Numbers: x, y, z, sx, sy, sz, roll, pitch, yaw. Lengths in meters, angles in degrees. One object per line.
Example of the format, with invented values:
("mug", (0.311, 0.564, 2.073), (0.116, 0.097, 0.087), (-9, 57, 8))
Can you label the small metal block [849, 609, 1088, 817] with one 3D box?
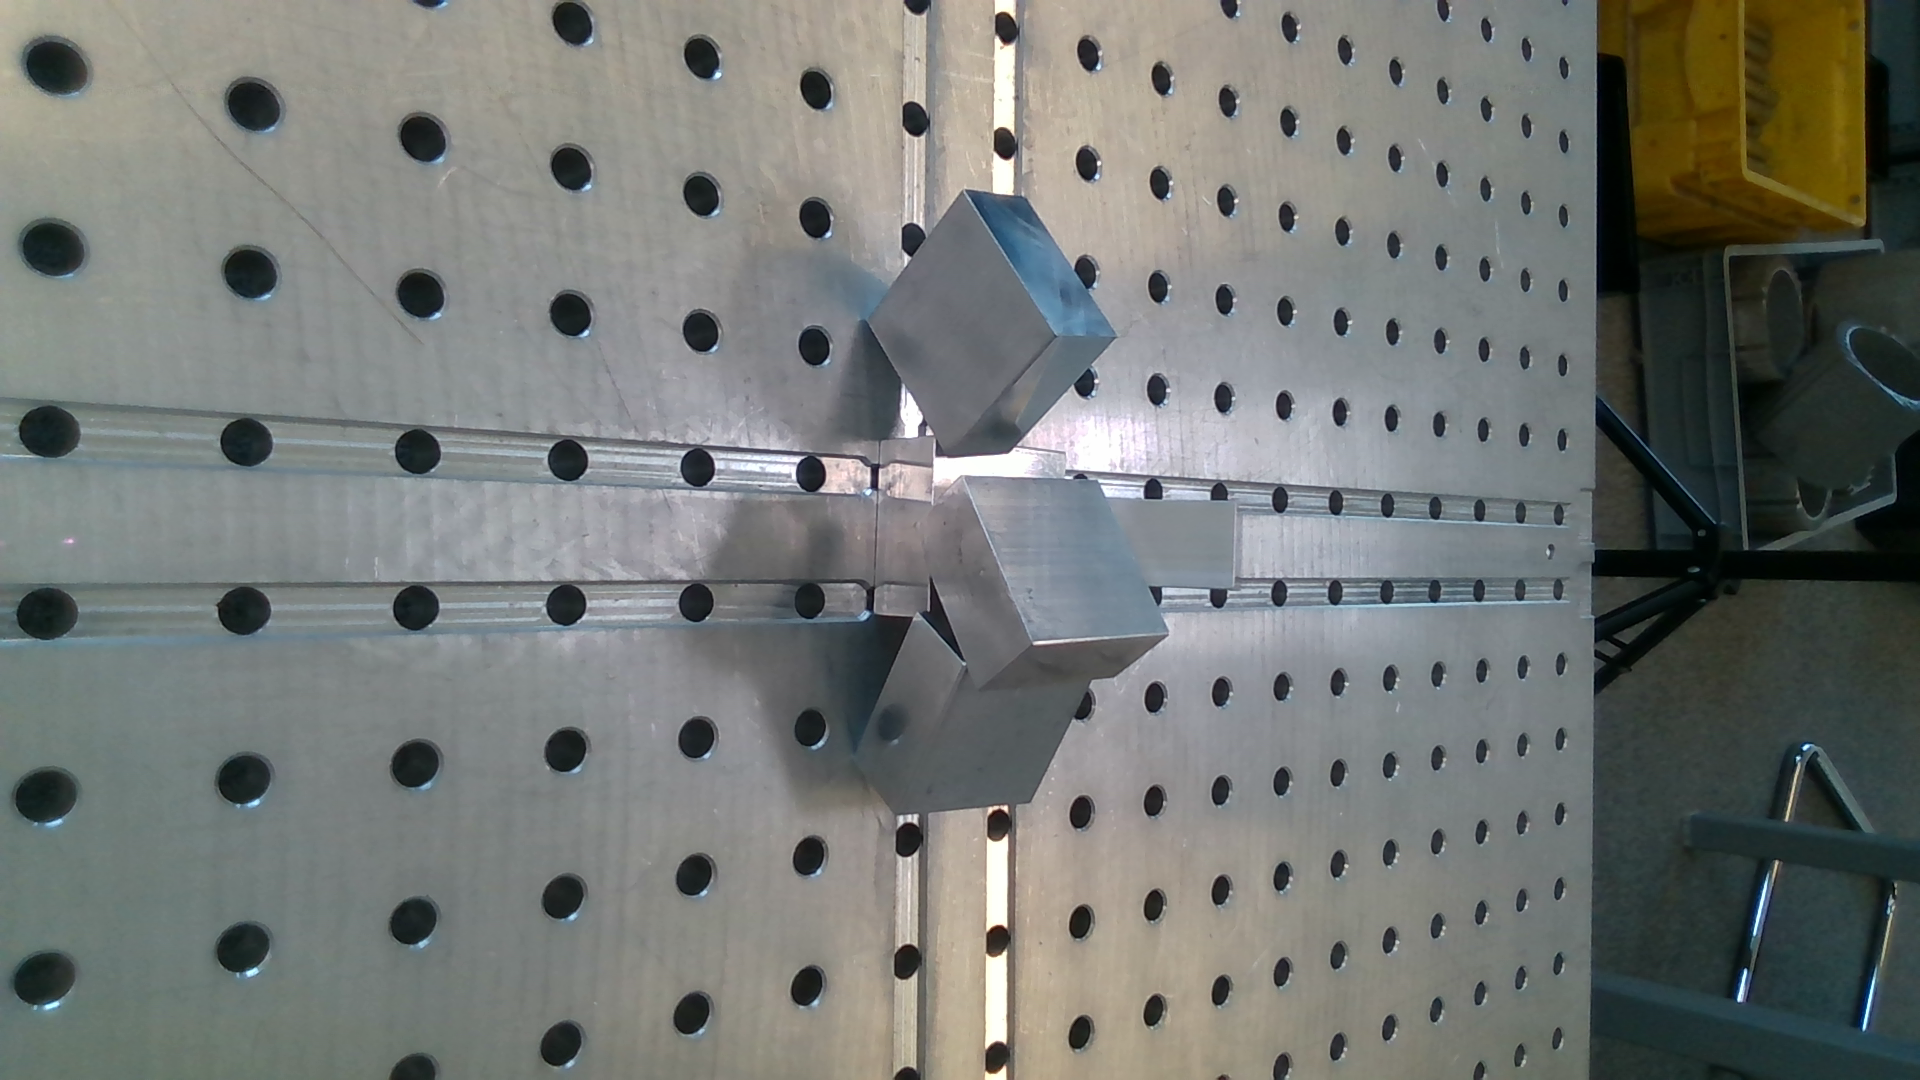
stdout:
("small metal block", (0.004, 0.047, 0.383), (0.050, 0.025, 0.050), (3, 119, -40))

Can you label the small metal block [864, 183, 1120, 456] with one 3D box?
("small metal block", (0.007, -0.058, 0.370), (0.025, 0.050, 0.050), (-8, 60, -46))

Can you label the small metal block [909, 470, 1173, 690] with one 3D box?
("small metal block", (0.021, 0.010, 0.364), (0.050, 0.025, 0.050), (-1, 57, -40))

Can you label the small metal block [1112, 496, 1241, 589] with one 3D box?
("small metal block", (0.059, 0.001, 0.414), (0.050, 0.050, 0.025), (11, 80, -76))

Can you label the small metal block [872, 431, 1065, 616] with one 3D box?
("small metal block", (0.003, -0.003, 0.397), (0.050, 0.025, 0.050), (3, 88, -40))
